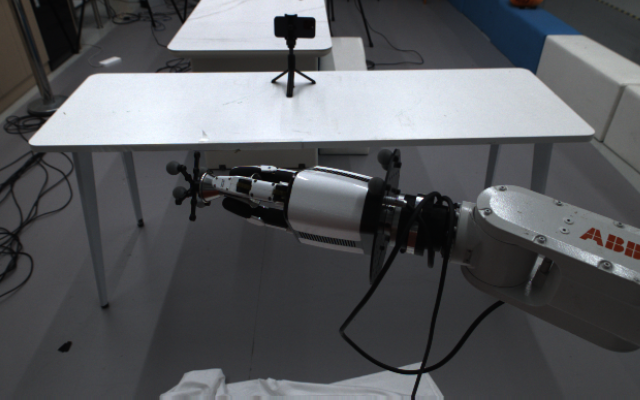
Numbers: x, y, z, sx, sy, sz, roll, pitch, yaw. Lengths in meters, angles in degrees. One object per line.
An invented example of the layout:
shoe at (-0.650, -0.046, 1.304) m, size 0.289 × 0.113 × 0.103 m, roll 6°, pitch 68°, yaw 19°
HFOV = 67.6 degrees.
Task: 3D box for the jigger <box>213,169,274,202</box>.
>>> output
jigger at (-0.103, -0.018, 0.609) m, size 0.071 × 0.043 × 0.043 m, roll 3°, pitch 34°, yaw 15°
